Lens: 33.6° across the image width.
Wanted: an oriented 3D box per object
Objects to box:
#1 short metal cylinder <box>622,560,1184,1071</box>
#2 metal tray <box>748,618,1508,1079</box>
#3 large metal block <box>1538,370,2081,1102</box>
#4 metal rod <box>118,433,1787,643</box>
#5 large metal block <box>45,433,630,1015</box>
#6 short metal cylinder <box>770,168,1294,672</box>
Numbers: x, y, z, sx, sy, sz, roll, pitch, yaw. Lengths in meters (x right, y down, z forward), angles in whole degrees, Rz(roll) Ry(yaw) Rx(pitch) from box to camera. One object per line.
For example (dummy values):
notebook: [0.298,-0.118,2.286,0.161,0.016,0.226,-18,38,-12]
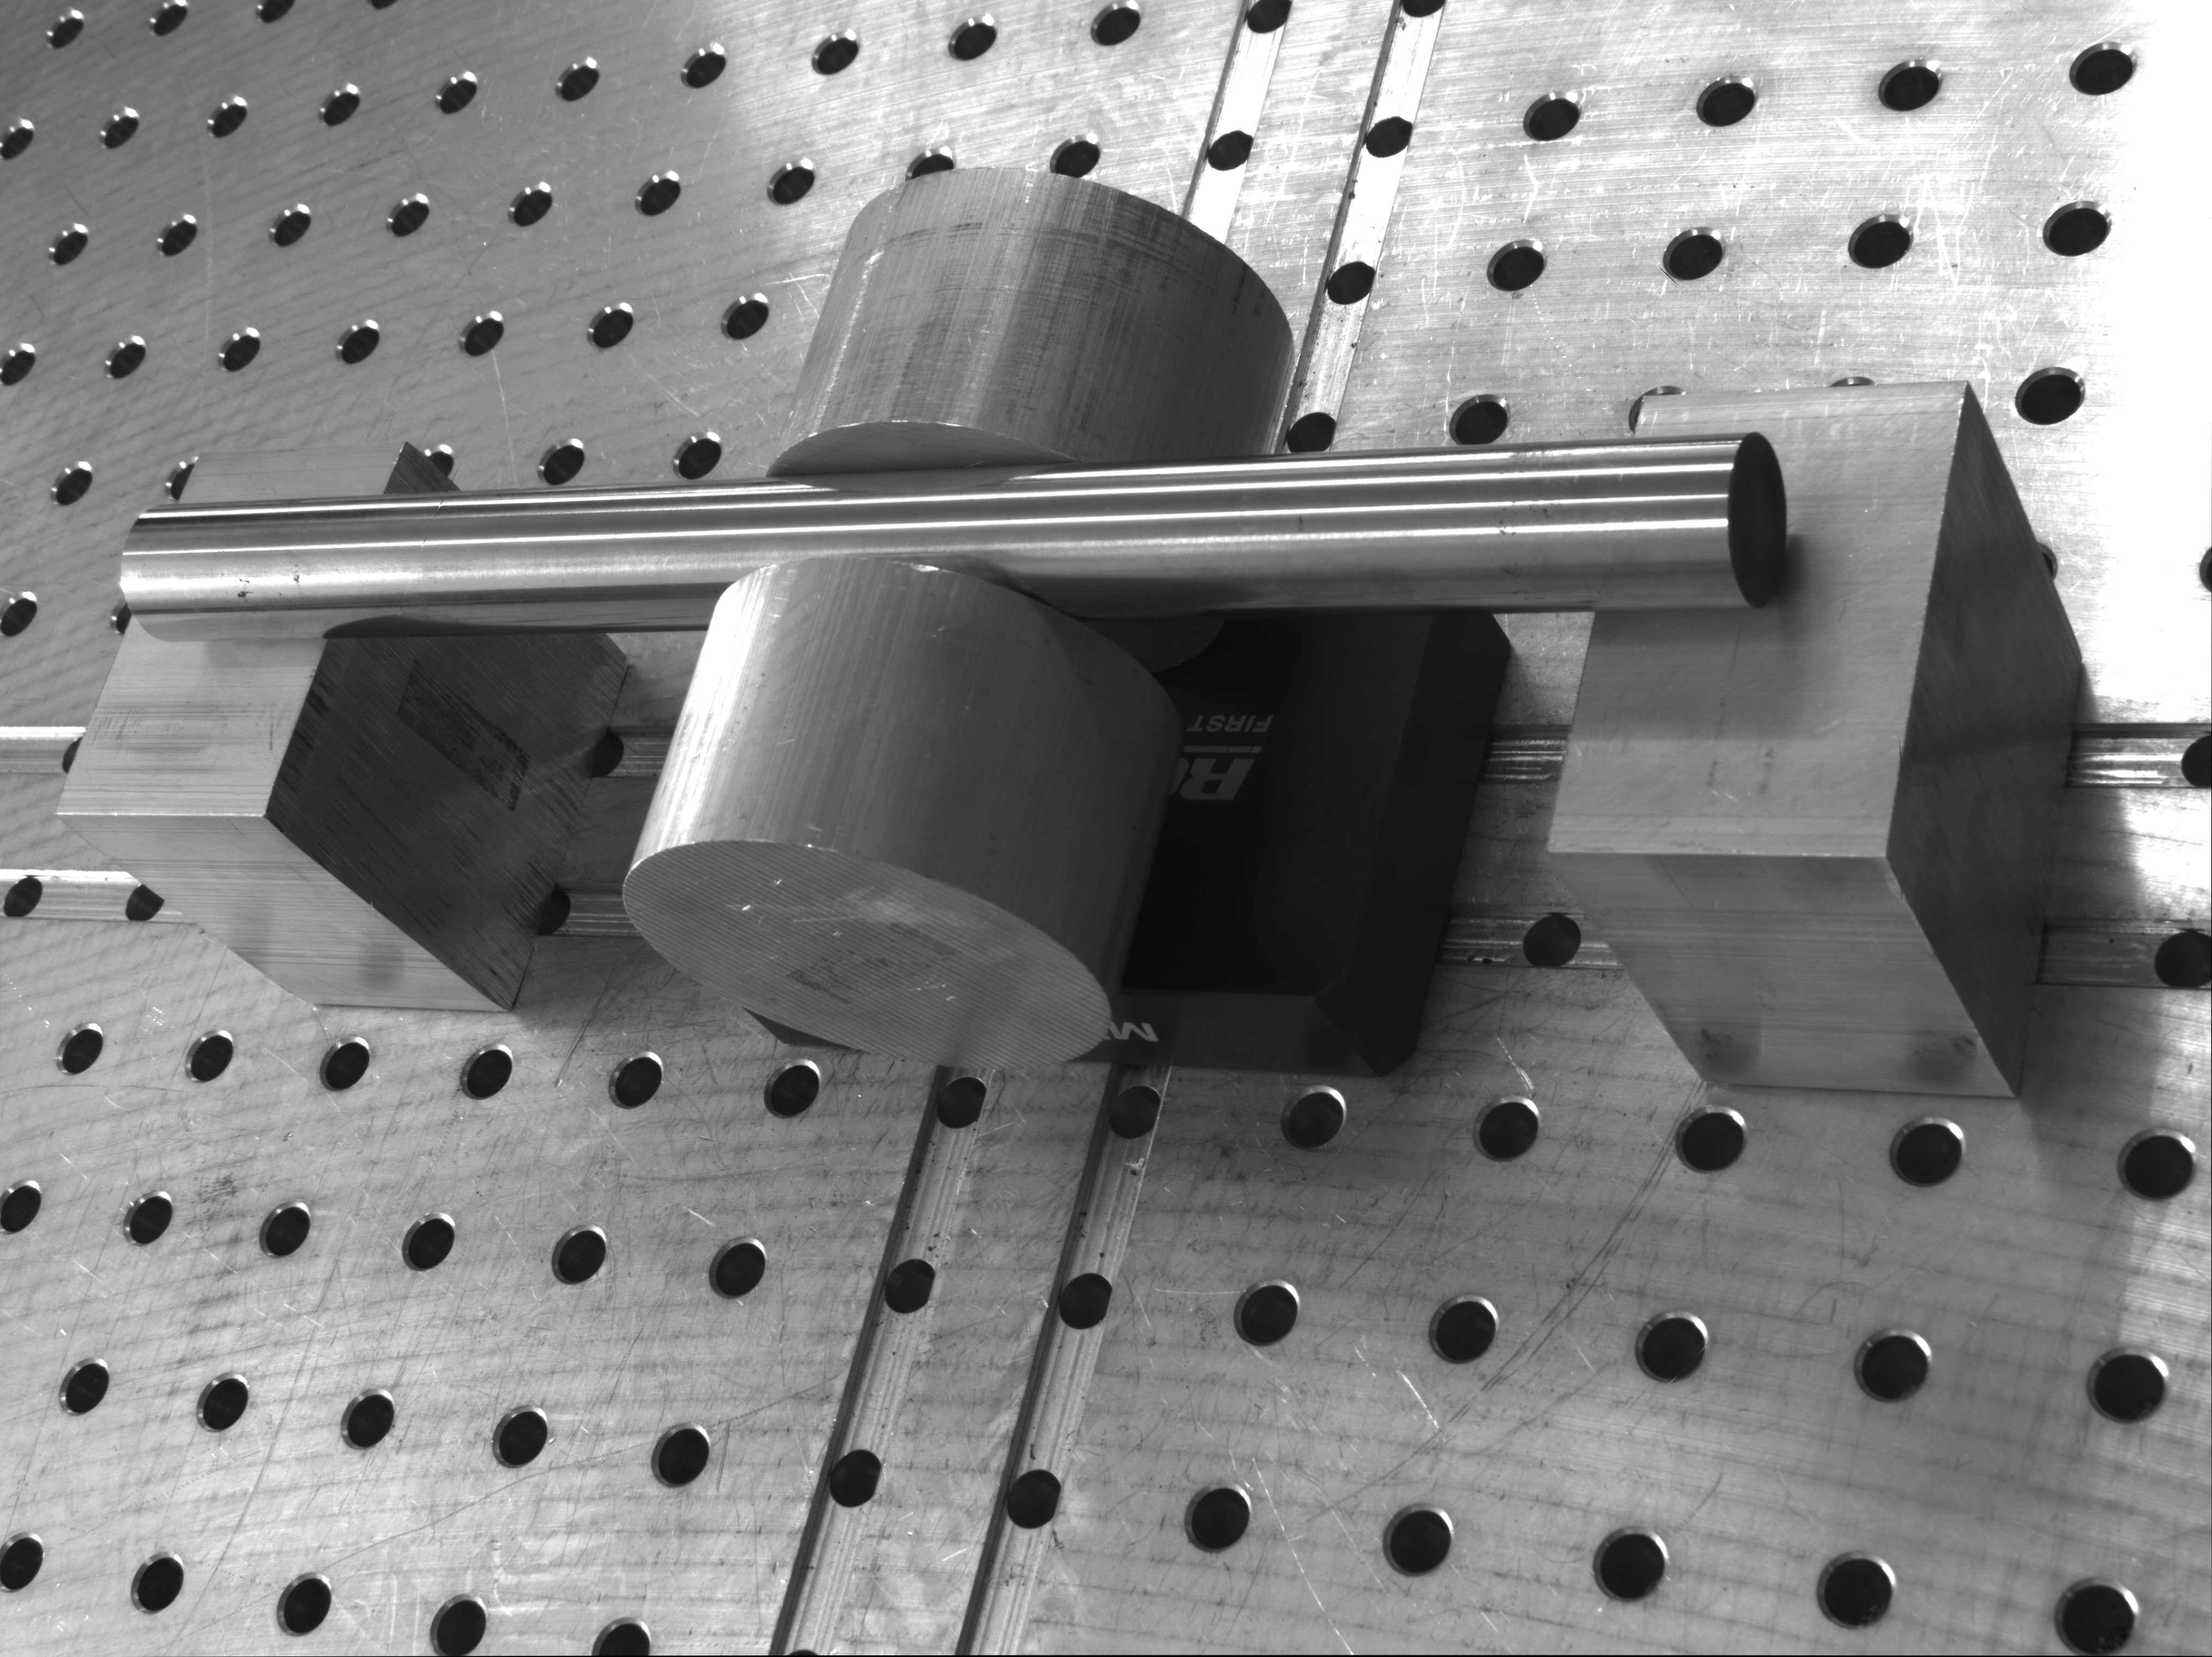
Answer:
short metal cylinder: [-0.032,-0.001,0.591,0.080,0.080,0.050,1,62,29]
metal tray: [-0.002,-0.005,0.649,0.130,0.030,0.090,1,62,29]
large metal block: [0.110,-0.013,0.559,0.050,0.080,0.080,1,62,29]
metal rod: [-0.039,-0.045,0.592,0.299,0.025,0.025,1,62,29]
large metal block: [-0.144,-0.019,0.700,0.050,0.080,0.080,1,62,29]
short metal cylinder: [-0.013,-0.067,0.622,0.080,0.080,0.050,1,62,29]
